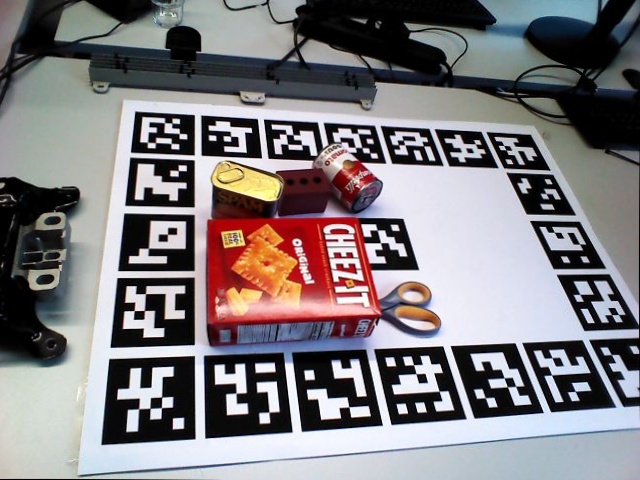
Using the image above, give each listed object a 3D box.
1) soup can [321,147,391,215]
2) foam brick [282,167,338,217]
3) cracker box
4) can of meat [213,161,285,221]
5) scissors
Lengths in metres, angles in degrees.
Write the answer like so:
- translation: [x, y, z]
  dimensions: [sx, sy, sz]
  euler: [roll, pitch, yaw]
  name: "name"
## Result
- translation: [0.058, -0.098, 0.842]
  dimensions: [0.102, 0.068, 0.067]
  euler: [40, 56, 23]
  name: "soup can"
- translation: [-0.019, -0.075, 0.810]
  dimensions: [0.078, 0.051, 0.052]
  euler: [-9, 58, -18]
  name: "foam brick"
- translation: [-0.035, 0.050, 0.683]
  dimensions: [0.213, 0.072, 0.163]
  euler: [-6, 55, -12]
  name: "cracker box"
- translation: [-0.105, -0.061, 0.756]
  dimensions: [0.102, 0.084, 0.057]
  euler: [12, 54, -5]
  name: "can of meat"
- translation: [0.077, 0.097, 0.713]
  dimensions: [0.202, 0.016, 0.087]
  euler: [-4, 56, -15]
  name: "scissors"
